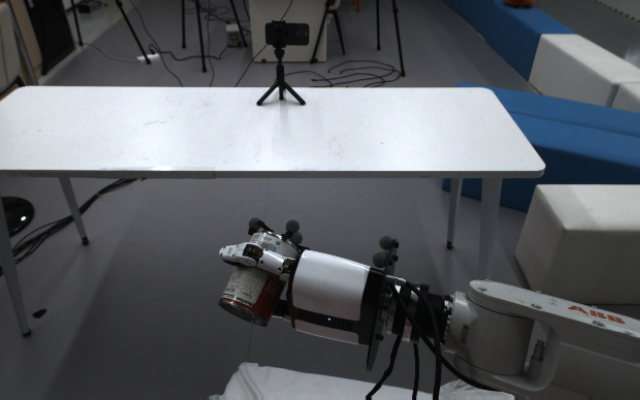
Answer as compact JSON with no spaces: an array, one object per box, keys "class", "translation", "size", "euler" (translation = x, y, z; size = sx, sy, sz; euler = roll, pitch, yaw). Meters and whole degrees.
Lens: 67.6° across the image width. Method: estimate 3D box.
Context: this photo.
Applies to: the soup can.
[{"class":"soup can","translation":[-0.074,0.098,0.608],"size":[0.067,0.067,0.101],"euler":[15,63,18]}]
